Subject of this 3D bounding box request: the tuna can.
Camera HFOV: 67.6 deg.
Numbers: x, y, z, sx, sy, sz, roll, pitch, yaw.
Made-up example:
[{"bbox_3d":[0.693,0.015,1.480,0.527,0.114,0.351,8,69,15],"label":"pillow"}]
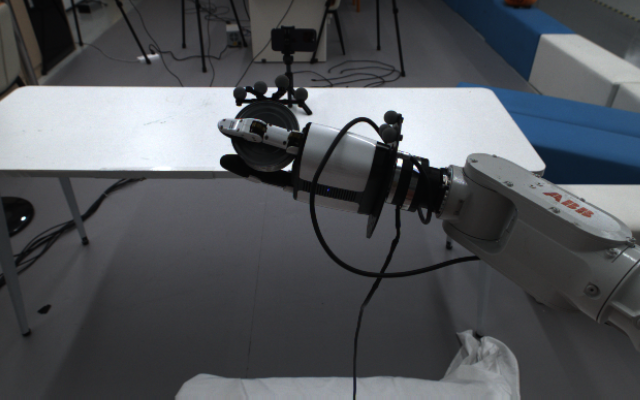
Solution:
[{"bbox_3d":[-0.066,-0.080,0.610,0.085,0.034,0.085,-1,76,4],"label":"tuna can"}]
